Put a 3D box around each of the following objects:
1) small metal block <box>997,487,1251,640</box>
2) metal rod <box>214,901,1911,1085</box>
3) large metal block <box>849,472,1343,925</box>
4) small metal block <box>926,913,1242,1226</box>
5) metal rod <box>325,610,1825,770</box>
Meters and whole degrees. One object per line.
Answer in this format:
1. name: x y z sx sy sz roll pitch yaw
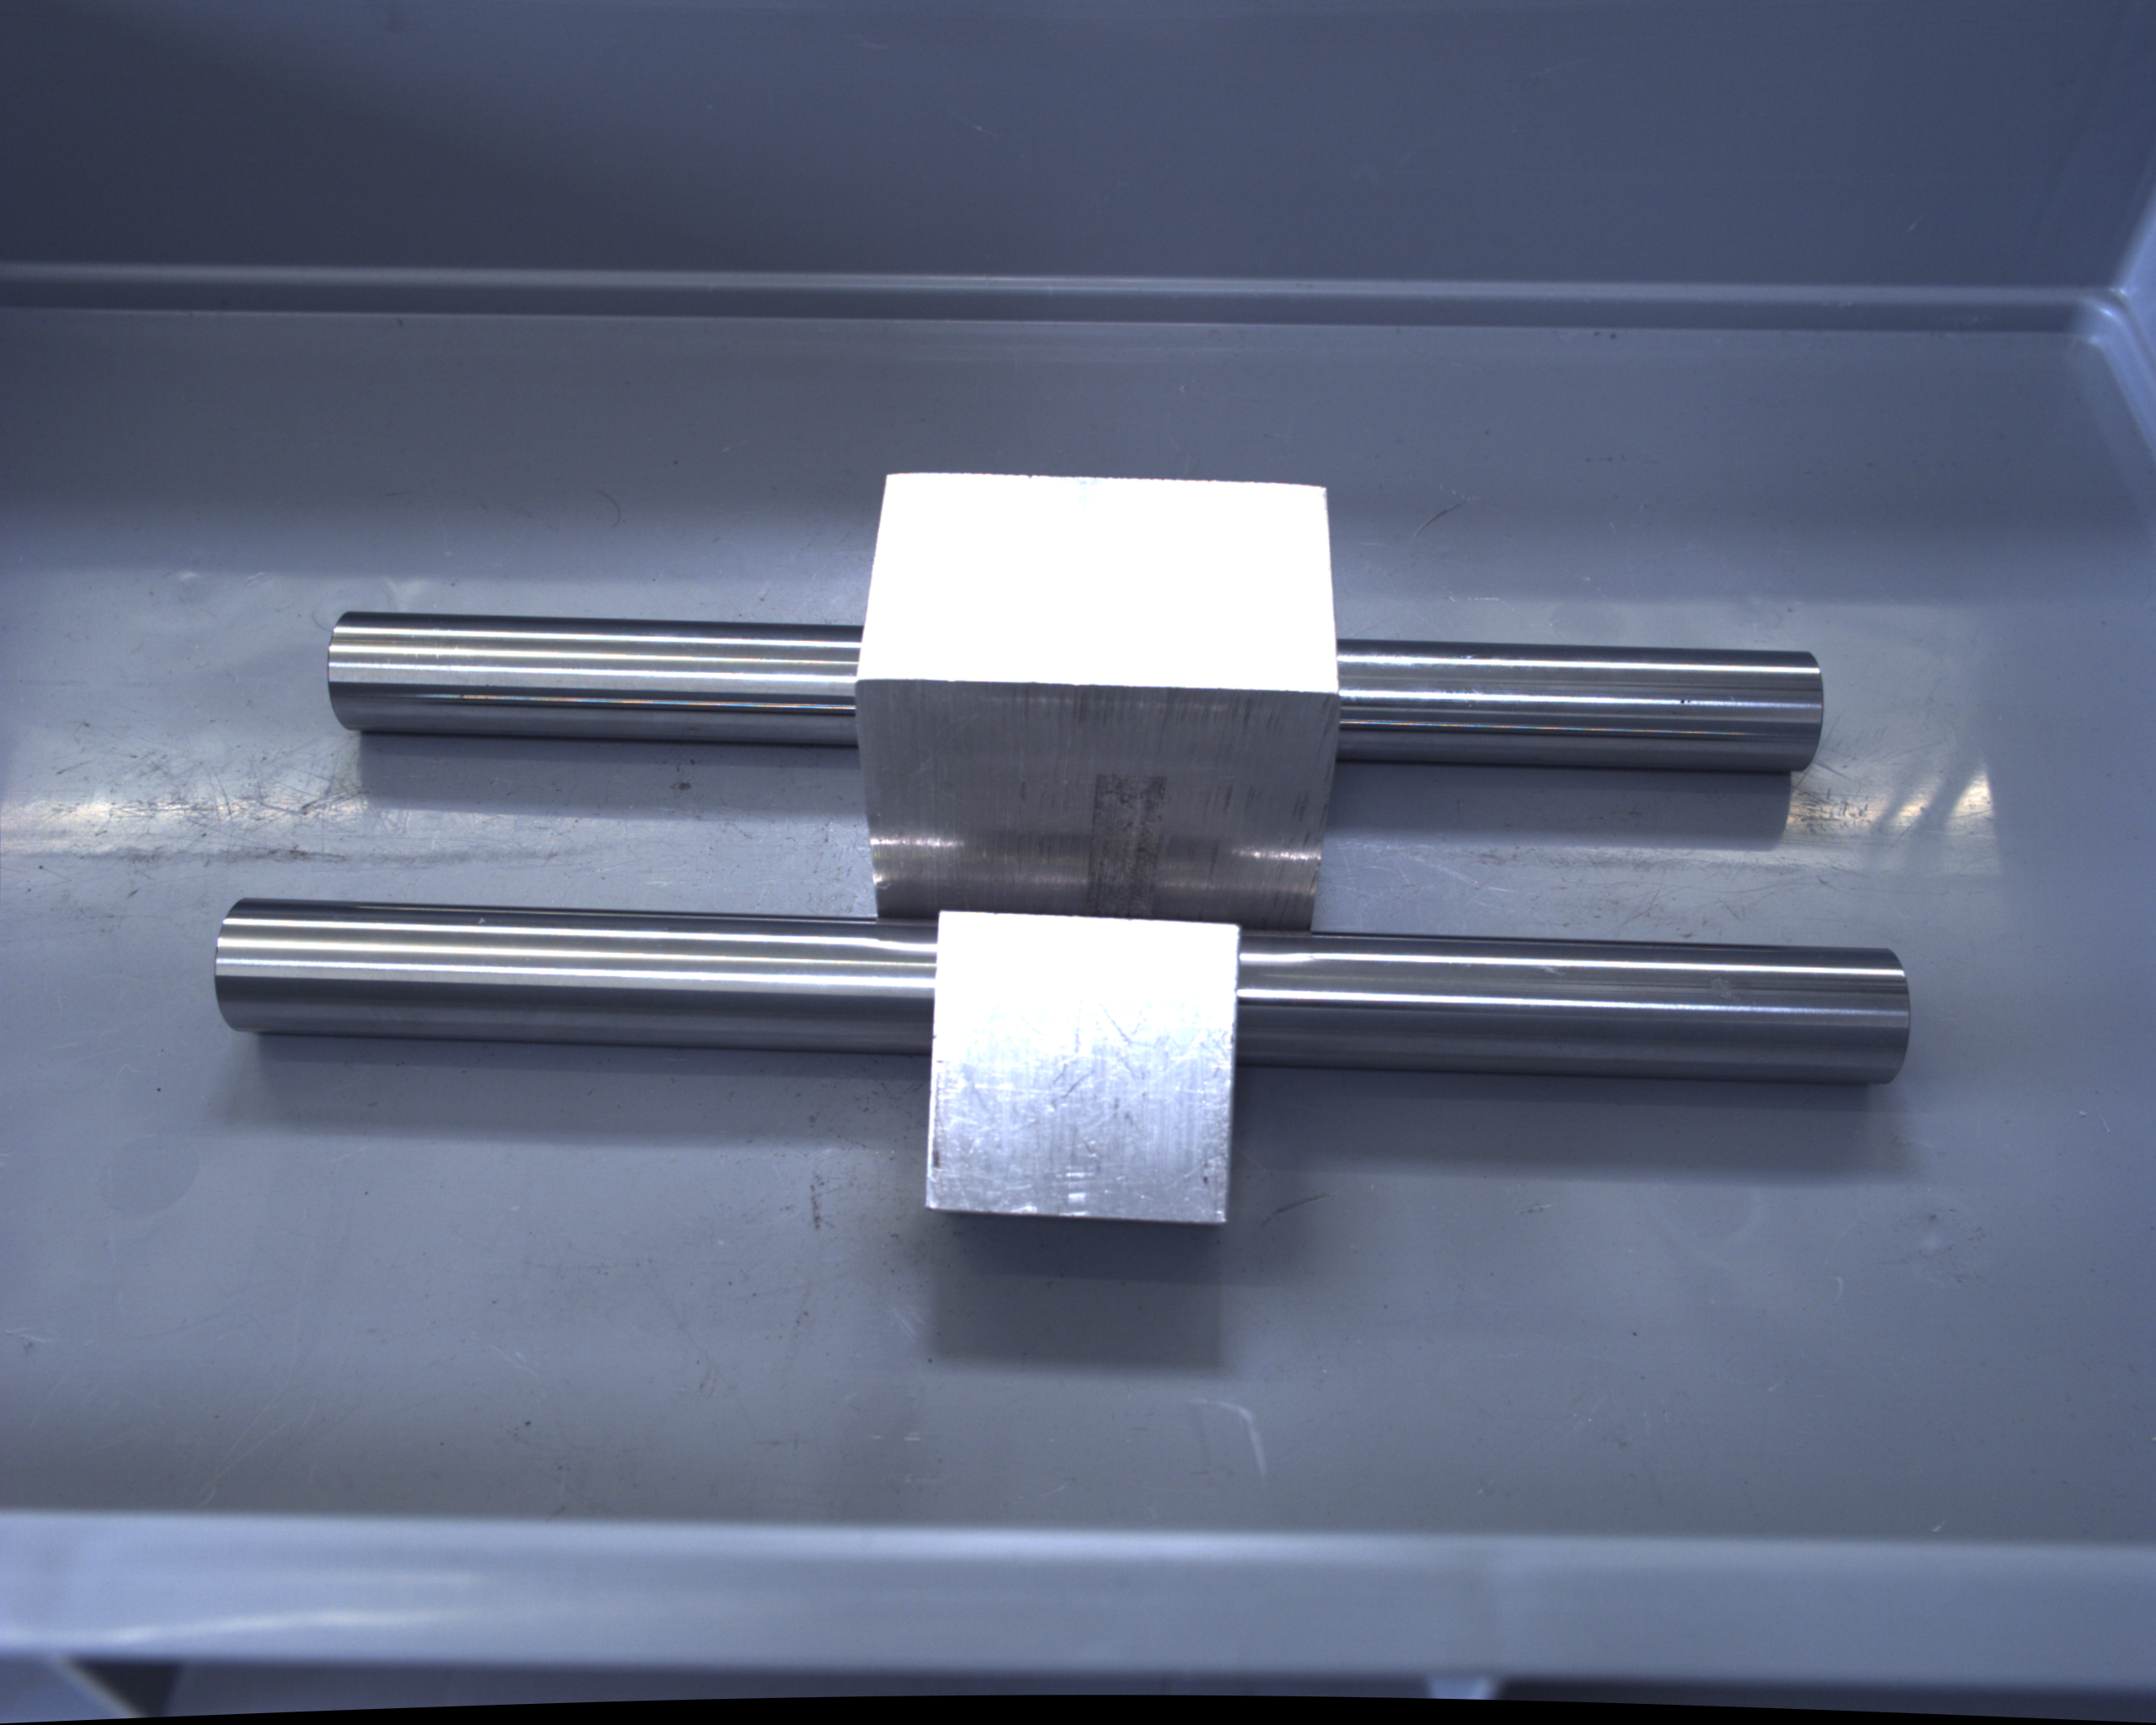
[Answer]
1. small metal block: 0.009 -0.064 0.442 0.050 0.025 0.050 1 16 0
2. metal rod: -0.003 0.024 0.383 0.302 0.025 0.025 2 50 1
3. large metal block: 0.004 -0.024 0.386 0.081 0.080 0.050 1 50 1
4. small metal block: 0.001 0.035 0.358 0.050 0.025 0.050 2 87 1
5. metal rod: -0.001 -0.036 0.432 0.302 0.025 0.025 2 50 1
